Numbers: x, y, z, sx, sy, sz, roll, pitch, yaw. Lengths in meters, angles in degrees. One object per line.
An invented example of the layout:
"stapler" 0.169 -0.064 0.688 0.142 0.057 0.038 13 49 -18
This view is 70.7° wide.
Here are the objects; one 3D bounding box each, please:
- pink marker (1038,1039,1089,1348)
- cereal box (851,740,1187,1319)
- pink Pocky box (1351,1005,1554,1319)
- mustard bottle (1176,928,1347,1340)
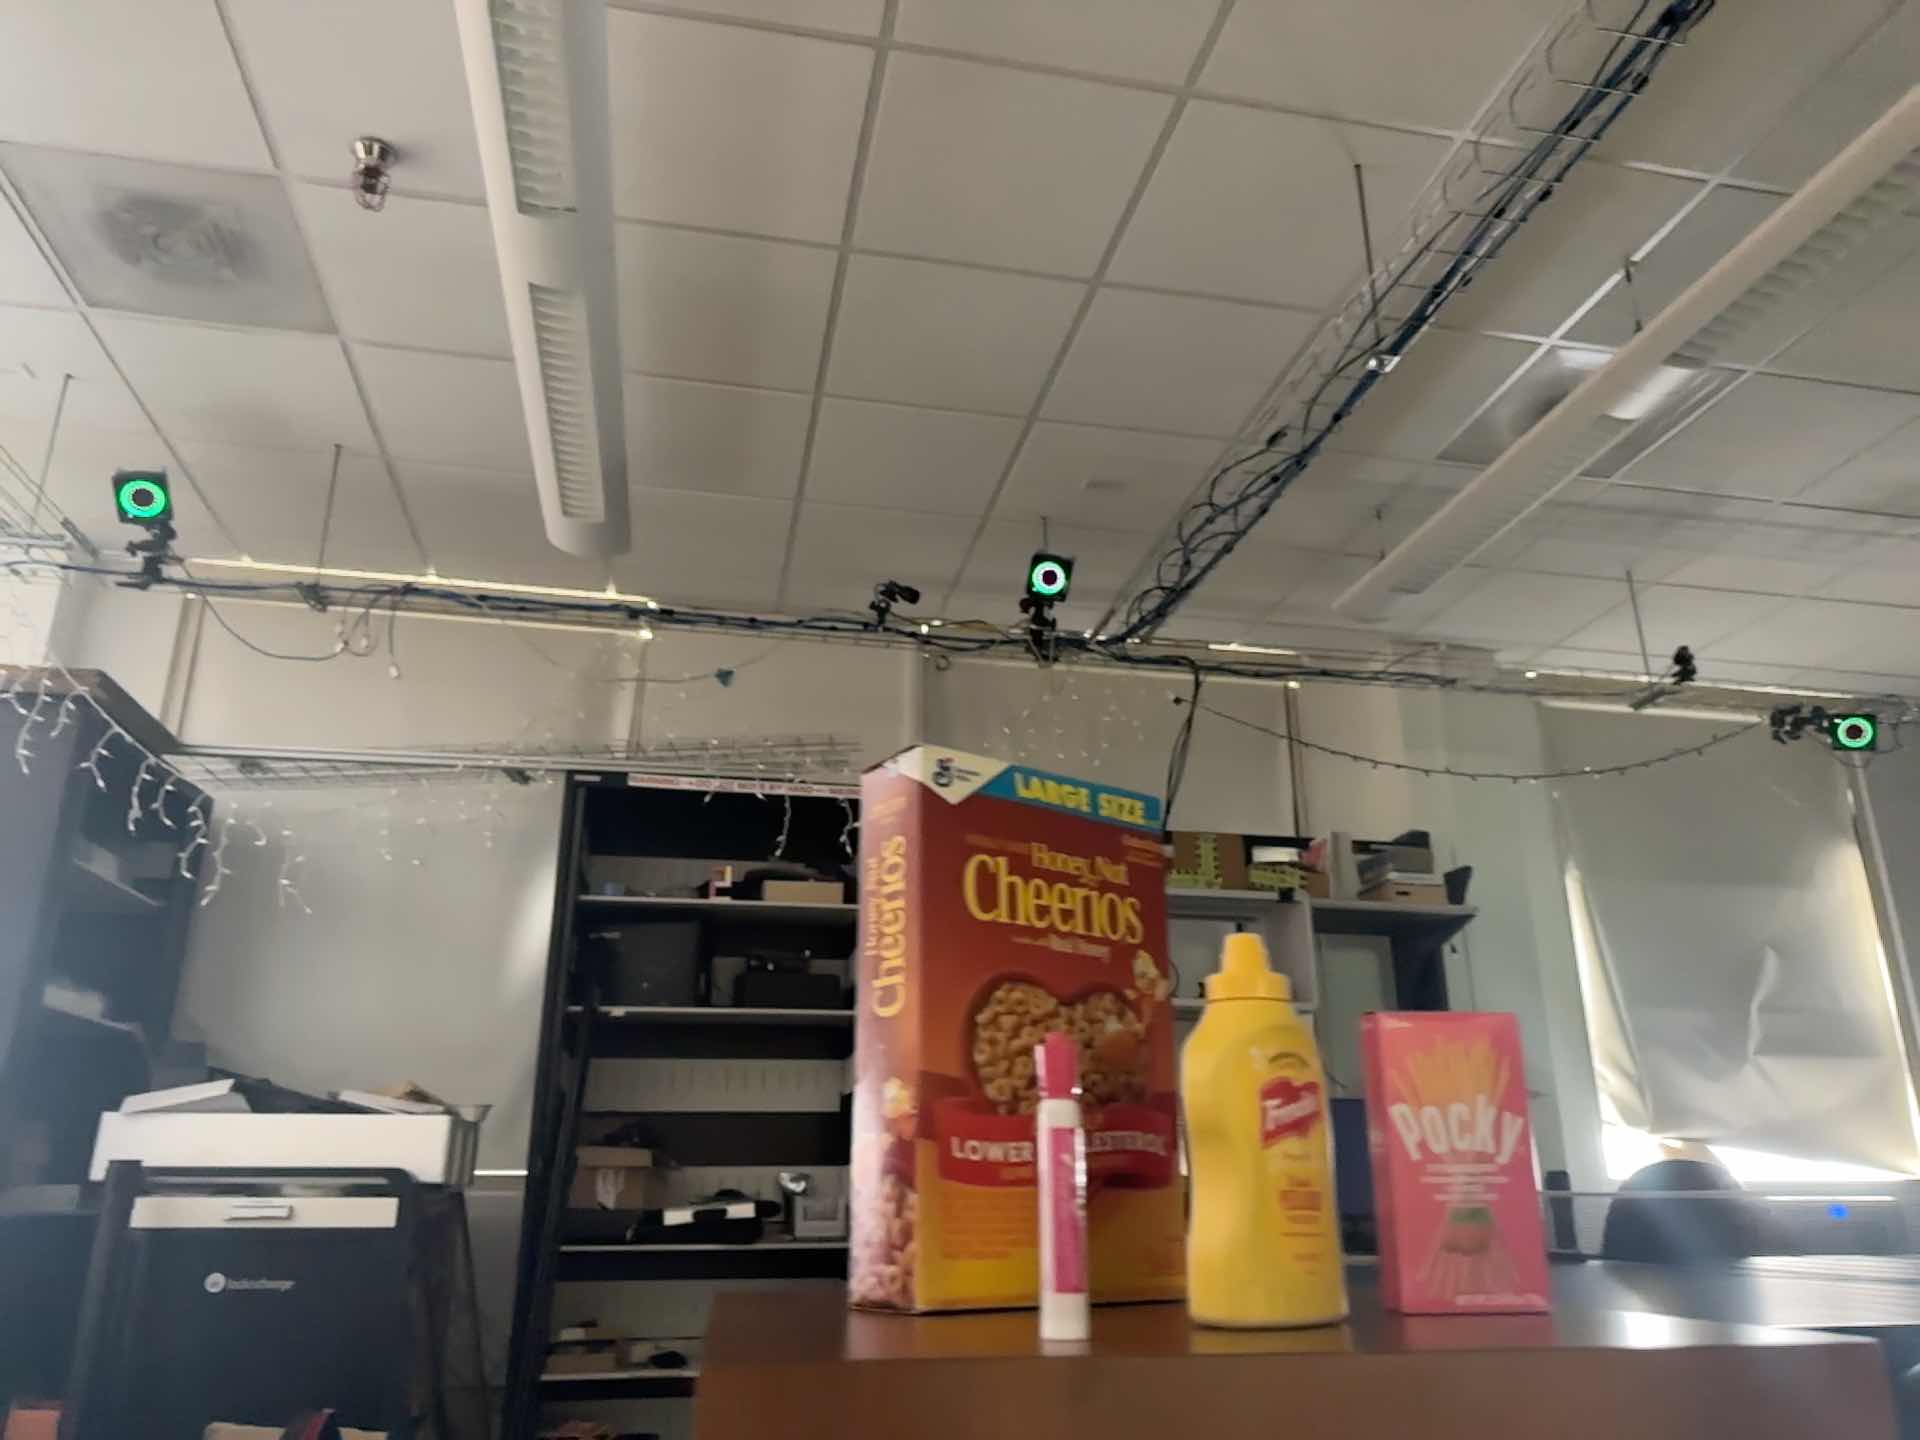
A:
"pink marker" 0.043 0.195 0.566 0.020 0.121 0.020 0 -19 0
"cereal box" 0.038 0.178 0.795 0.195 0.296 0.065 15 -24 -38
"pink Pocky box" 0.257 0.228 0.711 0.084 0.154 0.029 3 -18 -12
"mustard bottle" 0.139 0.191 0.645 0.092 0.184 0.054 11 -21 -34
